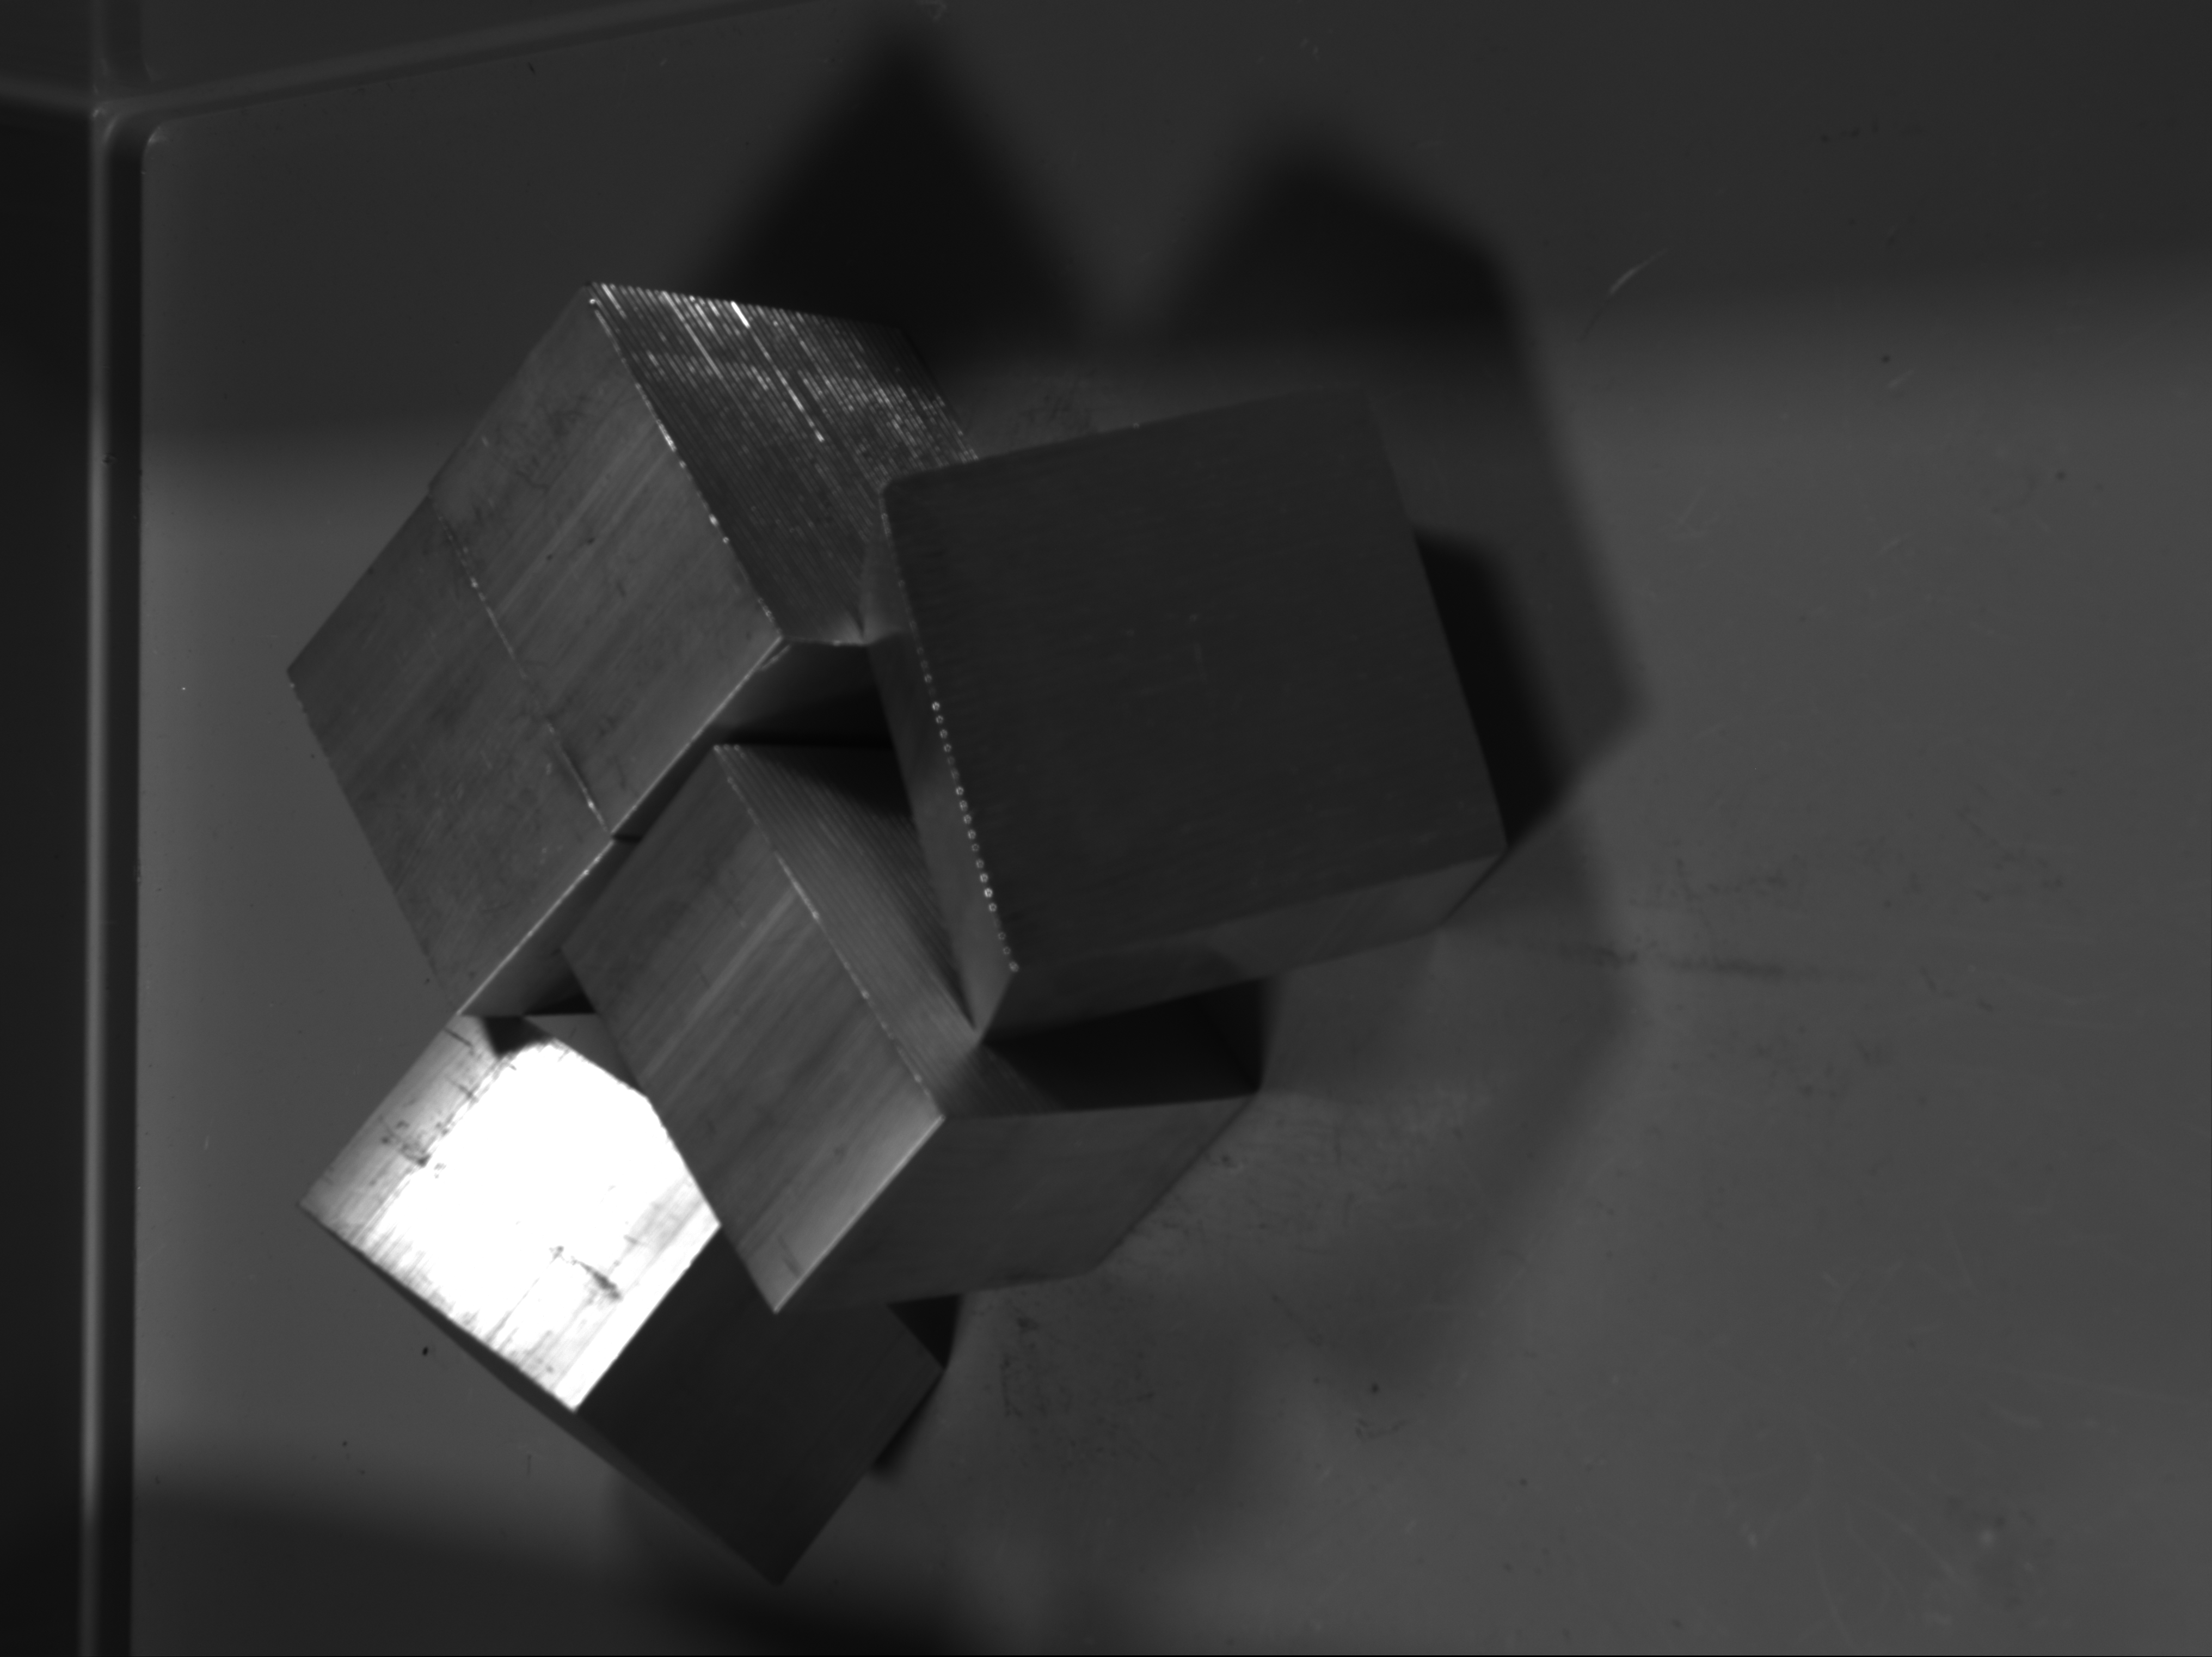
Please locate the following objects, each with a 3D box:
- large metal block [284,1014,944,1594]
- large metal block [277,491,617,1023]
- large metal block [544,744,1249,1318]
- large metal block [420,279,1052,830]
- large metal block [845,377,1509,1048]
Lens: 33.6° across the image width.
[{"bbox_3d":[-0.088,0.084,0.663,0.080,0.080,0.050,28,72,36],"label":"large metal block"},{"bbox_3d":[-0.093,-0.013,0.676,0.050,0.080,0.080,-45,63,30],"label":"large metal block"},{"bbox_3d":[-0.036,0.033,0.628,0.050,0.080,0.080,-49,61,28],"label":"large metal block"},{"bbox_3d":[-0.061,-0.046,0.650,0.050,0.080,0.080,-46,63,30],"label":"large metal block"},{"bbox_3d":[0.009,-0.018,0.584,0.050,0.080,0.080,118,137,-72],"label":"large metal block"}]
